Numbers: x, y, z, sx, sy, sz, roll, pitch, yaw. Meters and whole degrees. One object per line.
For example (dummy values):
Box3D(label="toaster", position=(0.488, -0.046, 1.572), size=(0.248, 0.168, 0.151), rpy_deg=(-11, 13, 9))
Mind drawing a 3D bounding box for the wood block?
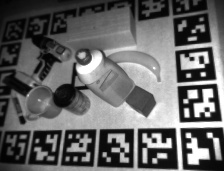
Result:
Box3D(label="wood block", position=(-0.043, -0.182, 0.695), size=(0.205, 0.092, 0.089), rpy_deg=(-6, 70, 16))

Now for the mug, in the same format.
Box3D(label="mug", position=(-0.228, 0.048, 0.672), size=(0.092, 0.082, 0.117), rpy_deg=(41, 90, 24))

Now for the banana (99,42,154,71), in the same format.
Box3D(label="banana", position=(0.038, -0.097, 0.664), size=(0.195, 0.039, 0.074), rpy_deg=(12, 88, 19))

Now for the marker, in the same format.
Box3D(label="marker", position=(-0.328, 0.071, 0.733), size=(0.019, 0.020, 0.120), rpy_deg=(-33, 65, 7))

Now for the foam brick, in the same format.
Box3D(label="foam brick", position=(0.070, 0.035, 0.589), size=(0.052, 0.079, 0.051), rpy_deg=(31, 80, 27))

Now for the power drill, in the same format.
Box3D(label="power drill", position=(-0.263, -0.080, 0.750), size=(0.183, 0.058, 0.187), rpy_deg=(26, 79, 21))

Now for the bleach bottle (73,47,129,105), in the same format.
Box3D(label="bleach bottle", position=(-0.031, -0.032, 0.546), size=(0.067, 0.253, 0.103), rpy_deg=(26, 79, 26))

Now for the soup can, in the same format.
Box3D(label="soup can", position=(-0.129, 0.030, 0.630), size=(0.067, 0.103, 0.067), rpy_deg=(-6, 65, 14))
